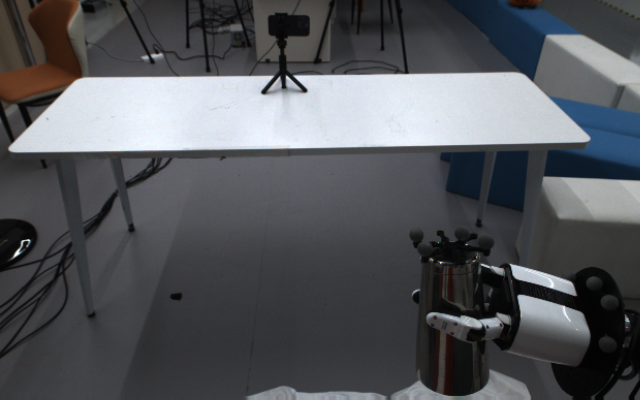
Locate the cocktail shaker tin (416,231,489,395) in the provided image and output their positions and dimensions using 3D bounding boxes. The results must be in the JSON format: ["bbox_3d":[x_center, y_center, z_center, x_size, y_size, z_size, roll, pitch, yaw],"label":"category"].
[{"bbox_3d":[0.163,0.141,0.598,0.093,0.170,0.093,-6,19,2],"label":"cocktail shaker tin"}]
